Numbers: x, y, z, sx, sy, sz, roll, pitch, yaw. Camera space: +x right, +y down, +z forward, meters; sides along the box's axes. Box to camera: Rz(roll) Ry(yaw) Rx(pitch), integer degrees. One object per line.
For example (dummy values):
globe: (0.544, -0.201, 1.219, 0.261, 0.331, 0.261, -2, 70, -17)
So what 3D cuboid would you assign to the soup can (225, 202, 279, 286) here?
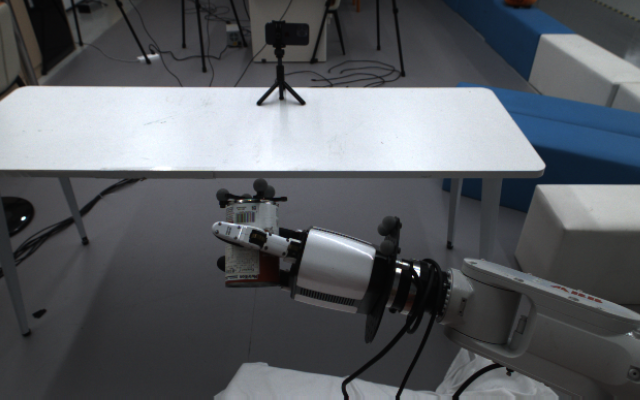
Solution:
soup can: (-0.082, 0.056, 0.598, 0.067, 0.067, 0.101, -1, 77, -5)
